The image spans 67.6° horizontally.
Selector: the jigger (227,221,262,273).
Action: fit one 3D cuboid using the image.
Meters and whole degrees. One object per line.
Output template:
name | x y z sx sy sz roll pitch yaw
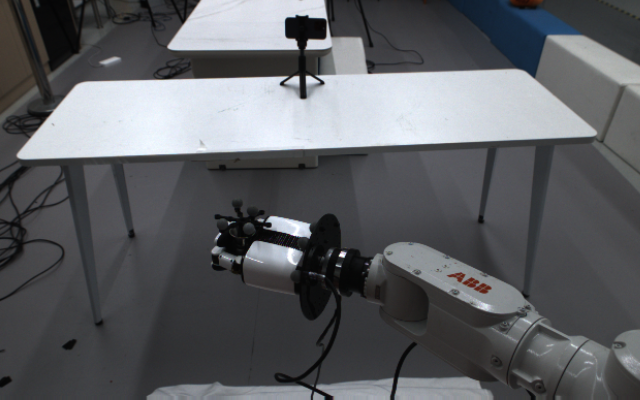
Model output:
jigger | -0.122 0.076 0.757 0.043 0.071 0.043 5 26 -2
